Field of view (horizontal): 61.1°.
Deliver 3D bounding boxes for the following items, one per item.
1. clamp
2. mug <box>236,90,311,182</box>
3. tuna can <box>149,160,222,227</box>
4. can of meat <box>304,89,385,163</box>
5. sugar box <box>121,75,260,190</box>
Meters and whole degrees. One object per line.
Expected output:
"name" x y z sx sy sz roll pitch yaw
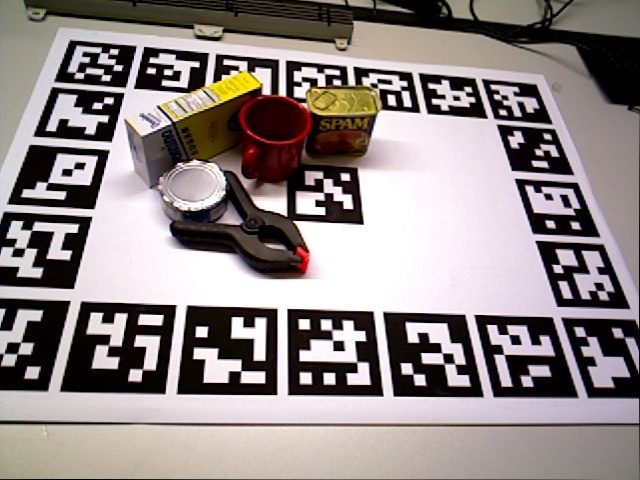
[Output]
"clamp" -0.085 -0.001 0.647 0.165 0.037 0.119 35 53 8
"mug" -0.068 -0.122 0.693 0.093 0.083 0.115 24 57 6
"tuna can" -0.163 -0.054 0.663 0.085 0.034 0.084 4 57 -7
"can of meat" 0.027 -0.153 0.740 0.100 0.086 0.057 -3 55 -14
"sugar box" -0.160 -0.138 0.692 0.173 0.095 0.045 -31 64 -28
